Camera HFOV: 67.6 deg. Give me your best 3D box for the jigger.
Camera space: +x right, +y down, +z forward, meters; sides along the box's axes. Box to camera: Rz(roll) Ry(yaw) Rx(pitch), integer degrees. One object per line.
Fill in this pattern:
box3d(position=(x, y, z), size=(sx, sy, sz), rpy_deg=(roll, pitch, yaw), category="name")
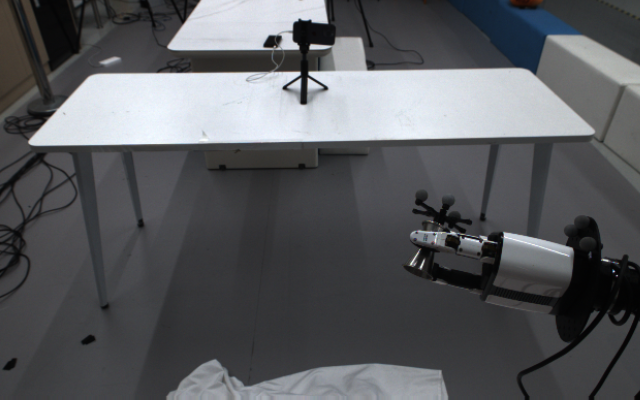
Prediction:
box3d(position=(0.142, 0.064, 0.644), size=(0.043, 0.043, 0.071), rpy_deg=(20, 73, 24), category="jigger")
